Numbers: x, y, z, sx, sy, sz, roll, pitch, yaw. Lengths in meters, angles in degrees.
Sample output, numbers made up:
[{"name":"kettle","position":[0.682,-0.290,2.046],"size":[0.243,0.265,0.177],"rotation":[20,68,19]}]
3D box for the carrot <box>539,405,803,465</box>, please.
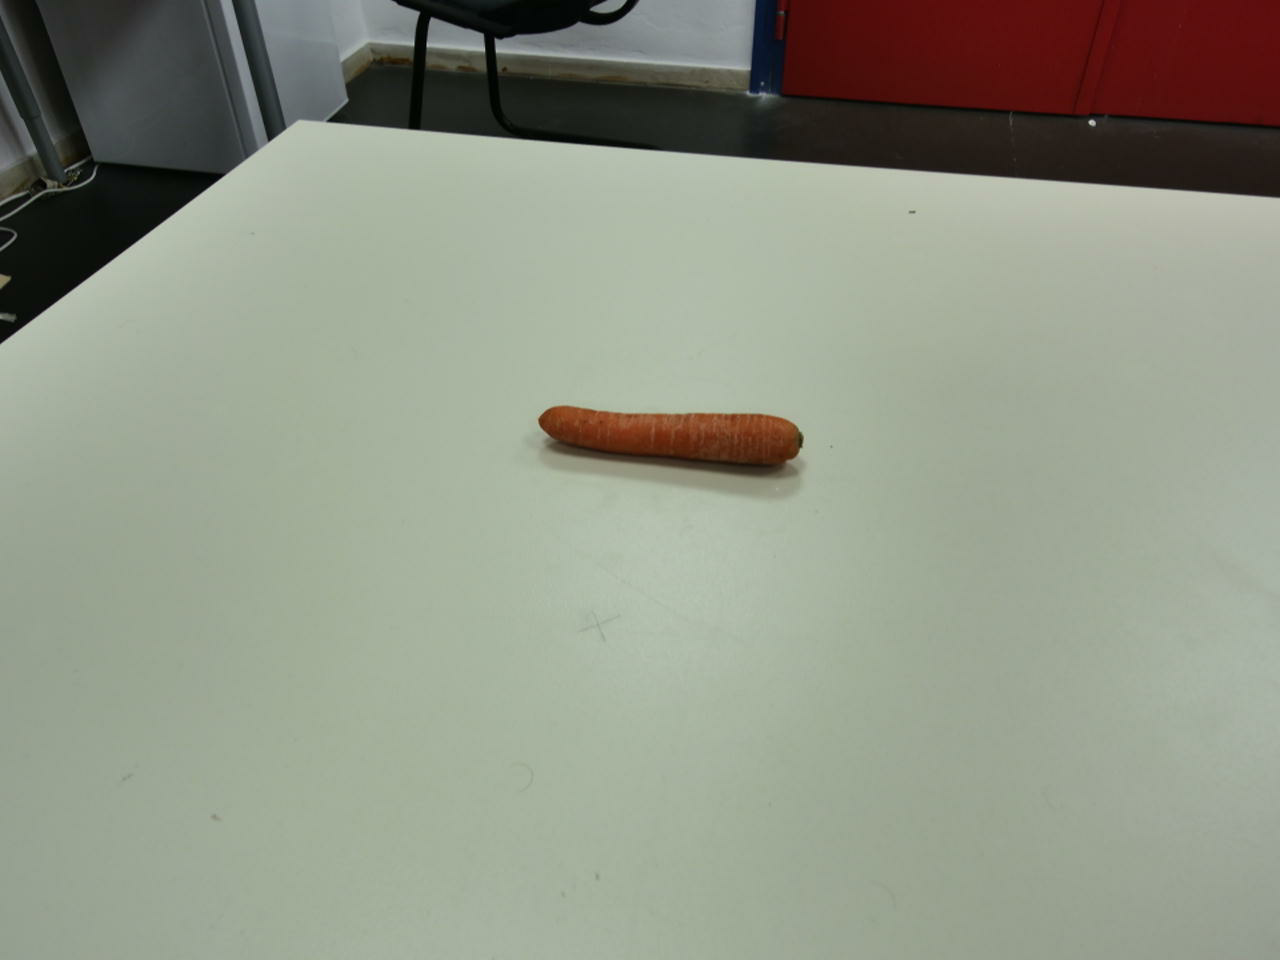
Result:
[{"name":"carrot","position":[0.013,-0.023,0.459],"size":[0.122,0.023,0.024],"rotation":[7,39,9]}]
